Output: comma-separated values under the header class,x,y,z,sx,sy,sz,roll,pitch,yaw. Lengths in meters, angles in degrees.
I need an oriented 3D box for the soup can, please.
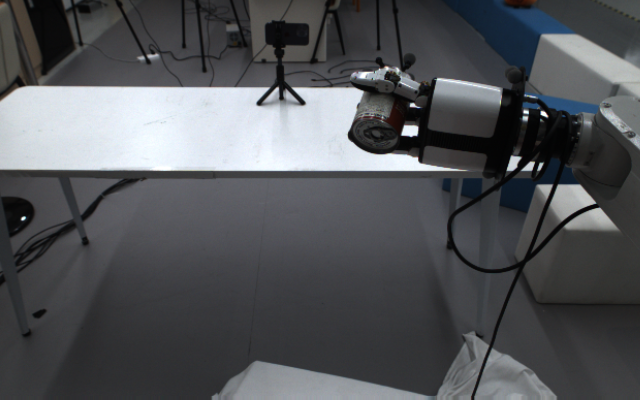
class,x,y,z,sx,sy,sz,roll,pitch,yaw
soup can,0.085,-0.124,0.656,0.067,0.067,0.101,12,59,14
